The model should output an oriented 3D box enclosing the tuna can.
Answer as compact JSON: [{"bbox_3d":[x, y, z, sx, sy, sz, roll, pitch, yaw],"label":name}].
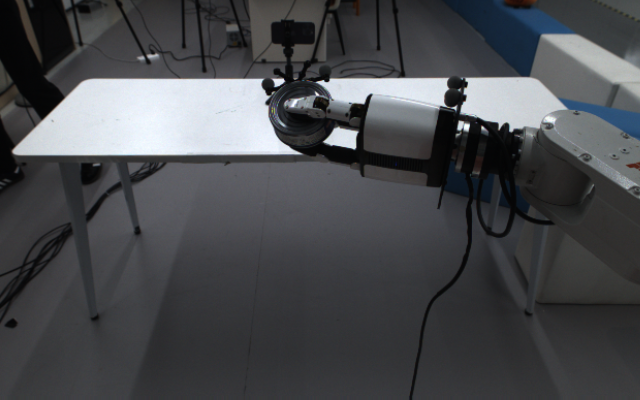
[{"bbox_3d":[-0.019,-0.108,0.630,0.085,0.034,0.085,-4,68,9],"label":"tuna can"}]
